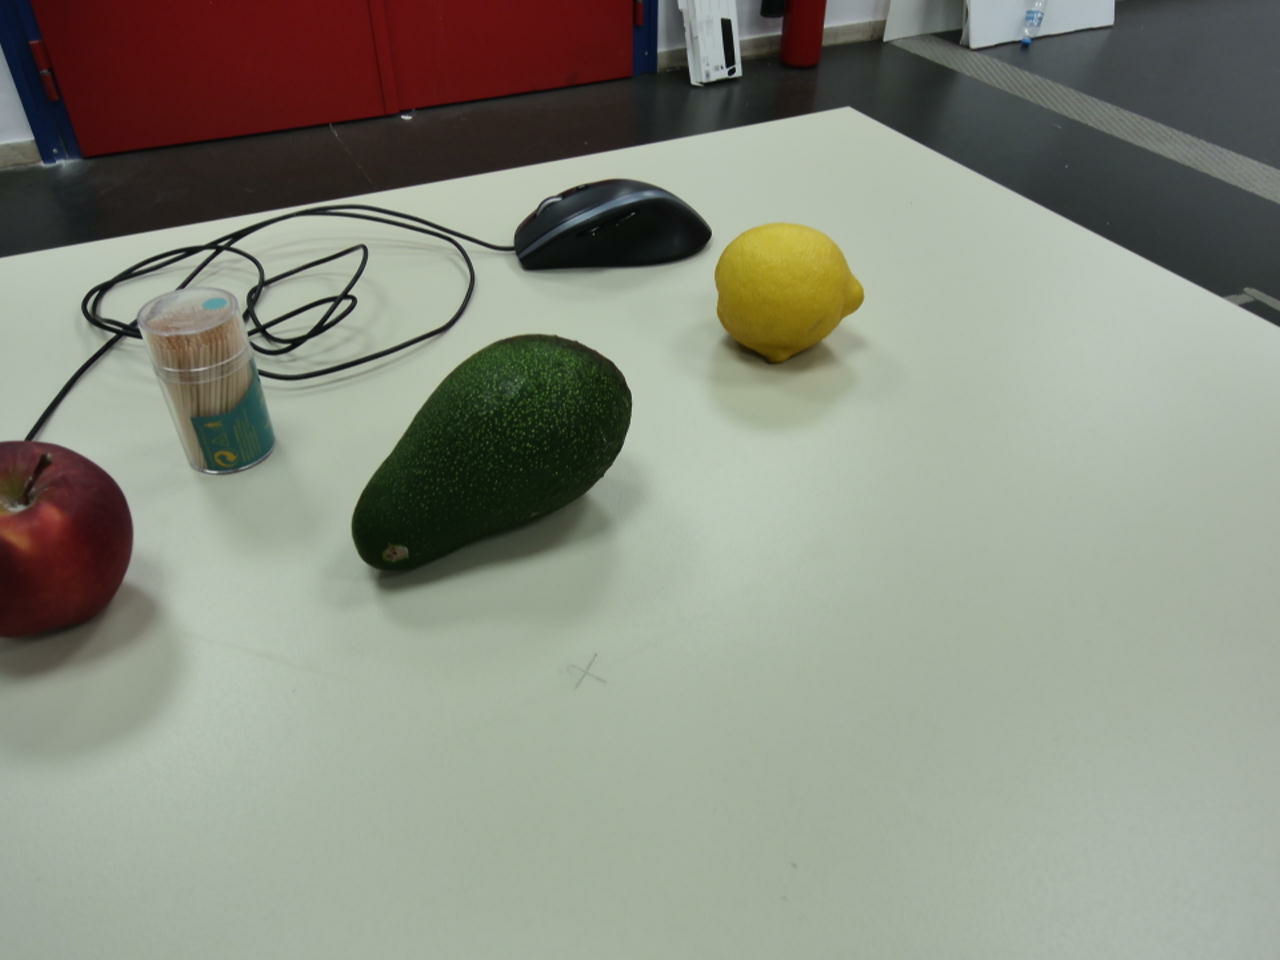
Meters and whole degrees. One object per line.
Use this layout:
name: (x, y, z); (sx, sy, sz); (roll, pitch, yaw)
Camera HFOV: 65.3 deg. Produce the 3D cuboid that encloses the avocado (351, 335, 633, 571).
avocado: (-0.062, -0.018, 0.413); (0.123, 0.076, 0.074); (-13, 40, -17)
